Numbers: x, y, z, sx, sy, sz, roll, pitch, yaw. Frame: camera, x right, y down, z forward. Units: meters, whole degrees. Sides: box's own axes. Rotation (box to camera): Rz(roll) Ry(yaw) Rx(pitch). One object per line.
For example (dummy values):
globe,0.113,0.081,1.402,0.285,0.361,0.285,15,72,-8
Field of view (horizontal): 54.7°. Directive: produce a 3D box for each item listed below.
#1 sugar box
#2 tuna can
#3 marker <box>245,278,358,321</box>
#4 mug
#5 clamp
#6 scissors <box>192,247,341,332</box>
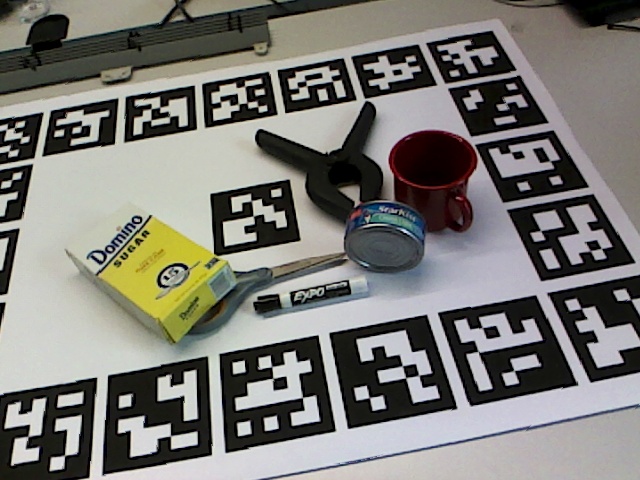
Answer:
sugar box,-0.182,0.031,0.682,0.177,0.045,0.092,32,61,34
tuna can,0.071,-0.001,0.657,0.086,0.085,0.034,3,52,9
marker,-0.020,0.064,0.659,0.121,0.019,0.020,-14,53,-3
mug,0.121,-0.050,0.696,0.093,0.081,0.118,-33,52,-18
clamp,0.020,-0.085,0.774,0.165,0.036,0.204,-19,53,-8
scissors,-0.072,0.039,0.682,0.202,0.016,0.088,-18,48,-9
